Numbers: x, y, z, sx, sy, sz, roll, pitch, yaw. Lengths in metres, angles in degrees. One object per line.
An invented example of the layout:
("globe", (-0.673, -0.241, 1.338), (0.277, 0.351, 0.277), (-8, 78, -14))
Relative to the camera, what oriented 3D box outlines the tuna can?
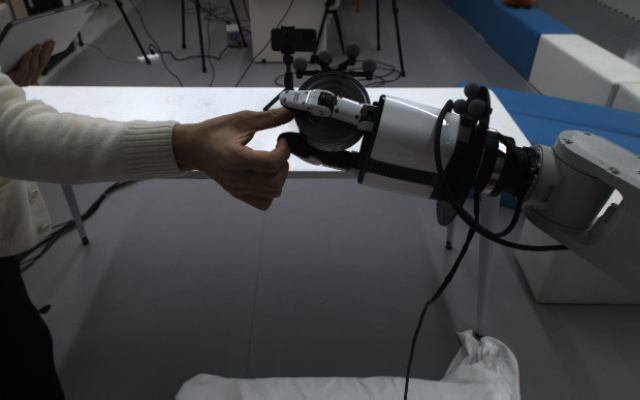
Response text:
("tuna can", (0.014, -0.099, 0.549), (0.085, 0.034, 0.085), (-1, 76, 4))
